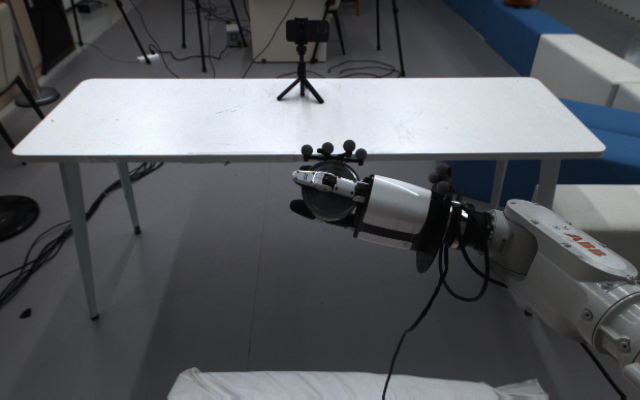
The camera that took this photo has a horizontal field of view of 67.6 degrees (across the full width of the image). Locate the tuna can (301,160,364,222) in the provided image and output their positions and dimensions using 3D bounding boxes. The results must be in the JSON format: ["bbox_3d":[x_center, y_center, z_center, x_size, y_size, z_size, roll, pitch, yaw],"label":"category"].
[{"bbox_3d":[0.017,-0.014,0.696,0.085,0.034,0.085,0,75,0],"label":"tuna can"}]
